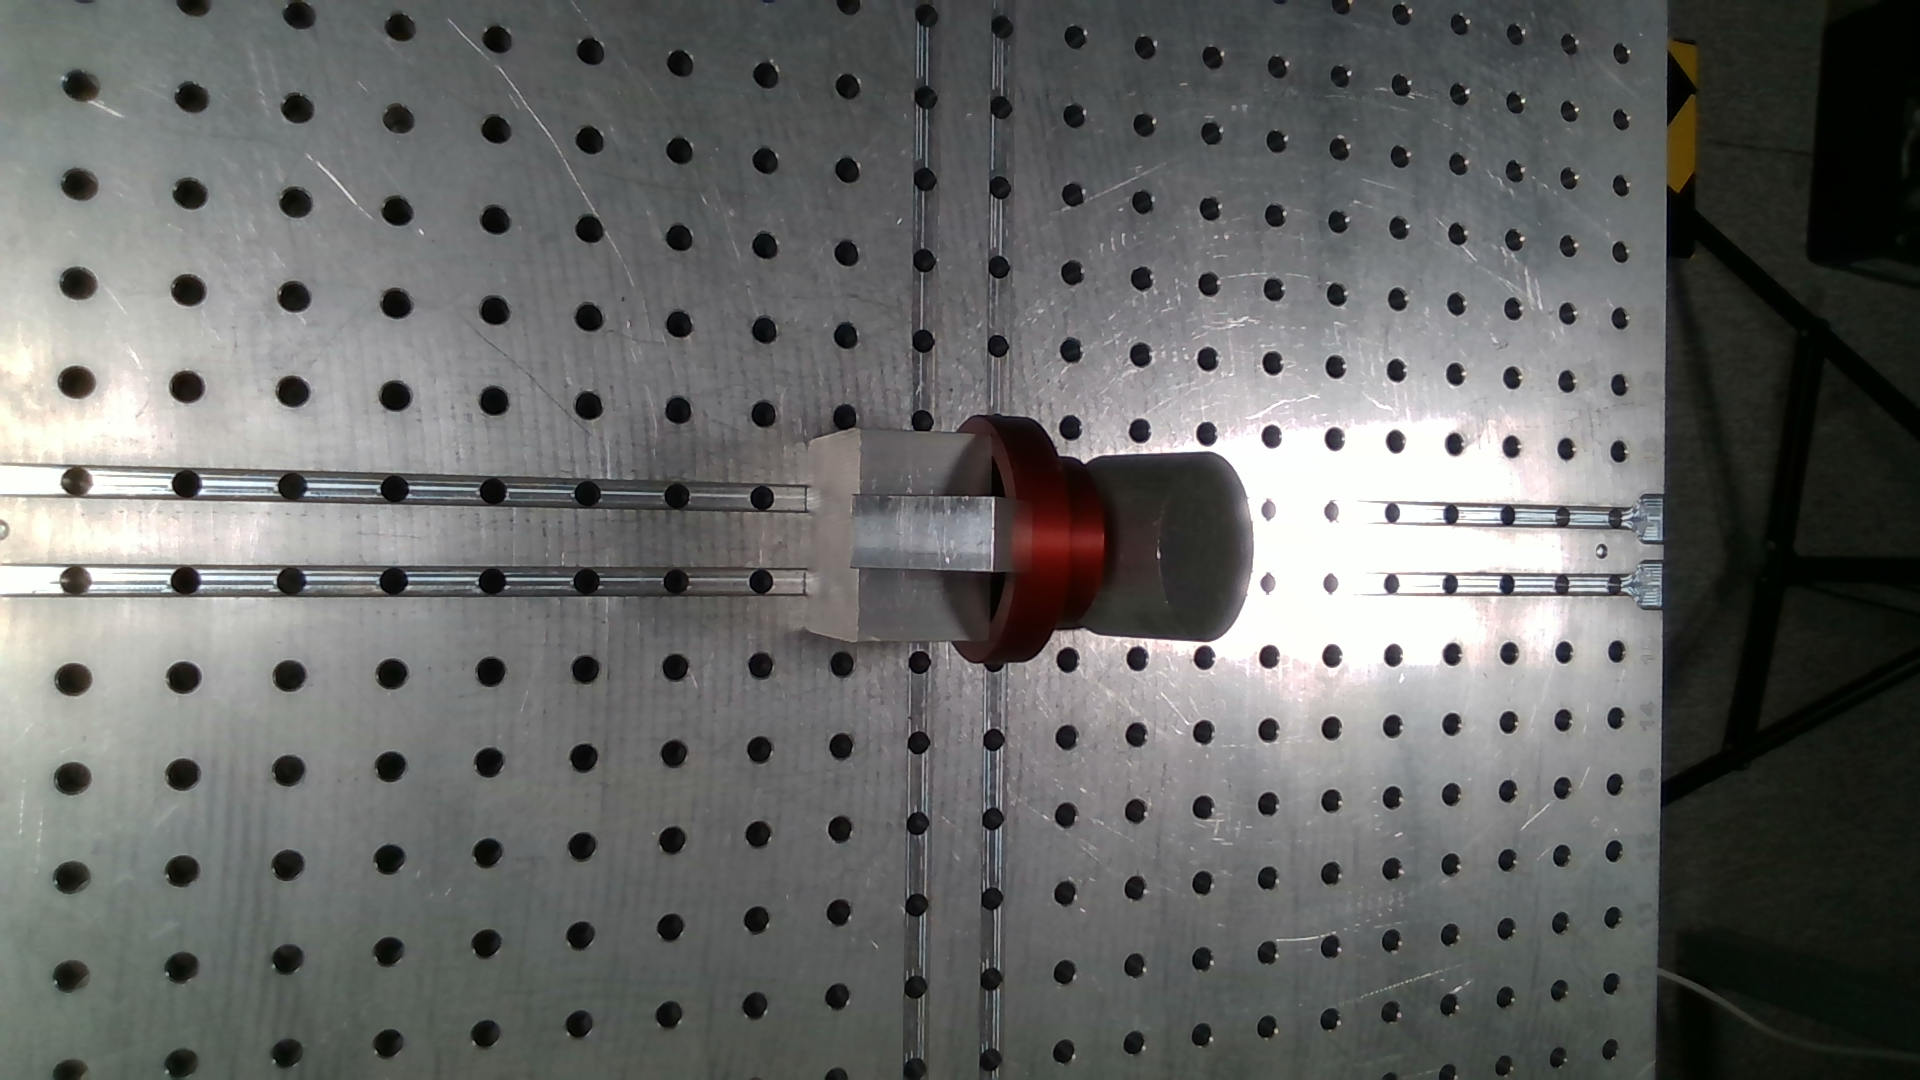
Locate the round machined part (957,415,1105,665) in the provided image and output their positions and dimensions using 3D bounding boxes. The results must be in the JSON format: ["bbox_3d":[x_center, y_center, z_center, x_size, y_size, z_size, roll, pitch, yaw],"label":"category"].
[{"bbox_3d":[0.024,0.000,0.547,0.042,0.098,0.098,1,90,-20],"label":"round machined part"}]

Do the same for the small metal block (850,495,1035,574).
[{"bbox_3d":[-0.005,-0.002,0.476,0.050,0.050,0.025,1,90,18],"label":"small metal block"}]

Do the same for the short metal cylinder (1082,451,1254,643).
[{"bbox_3d":[0.085,0.003,0.589,0.080,0.050,0.080,-1,92,-50],"label":"short metal cylinder"}]

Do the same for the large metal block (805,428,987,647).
[{"bbox_3d":[-0.028,-0.001,0.548,0.050,0.080,0.080,1,90,-20],"label":"large metal block"}]

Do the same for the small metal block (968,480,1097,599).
[{"bbox_3d":[0.031,0.000,0.599,0.050,0.025,0.050,1,90,-20],"label":"small metal block"}]
